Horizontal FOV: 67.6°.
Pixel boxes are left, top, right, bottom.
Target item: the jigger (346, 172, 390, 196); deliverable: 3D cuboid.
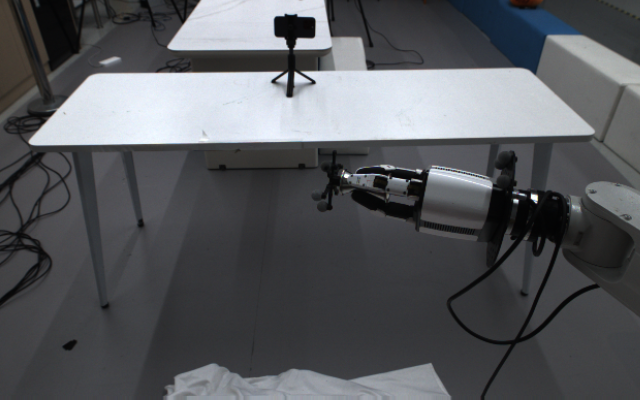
[{"bbox_3d":[0.072,-0.027,0.693,0.071,0.043,0.043,7,35,16],"label":"jigger"}]
